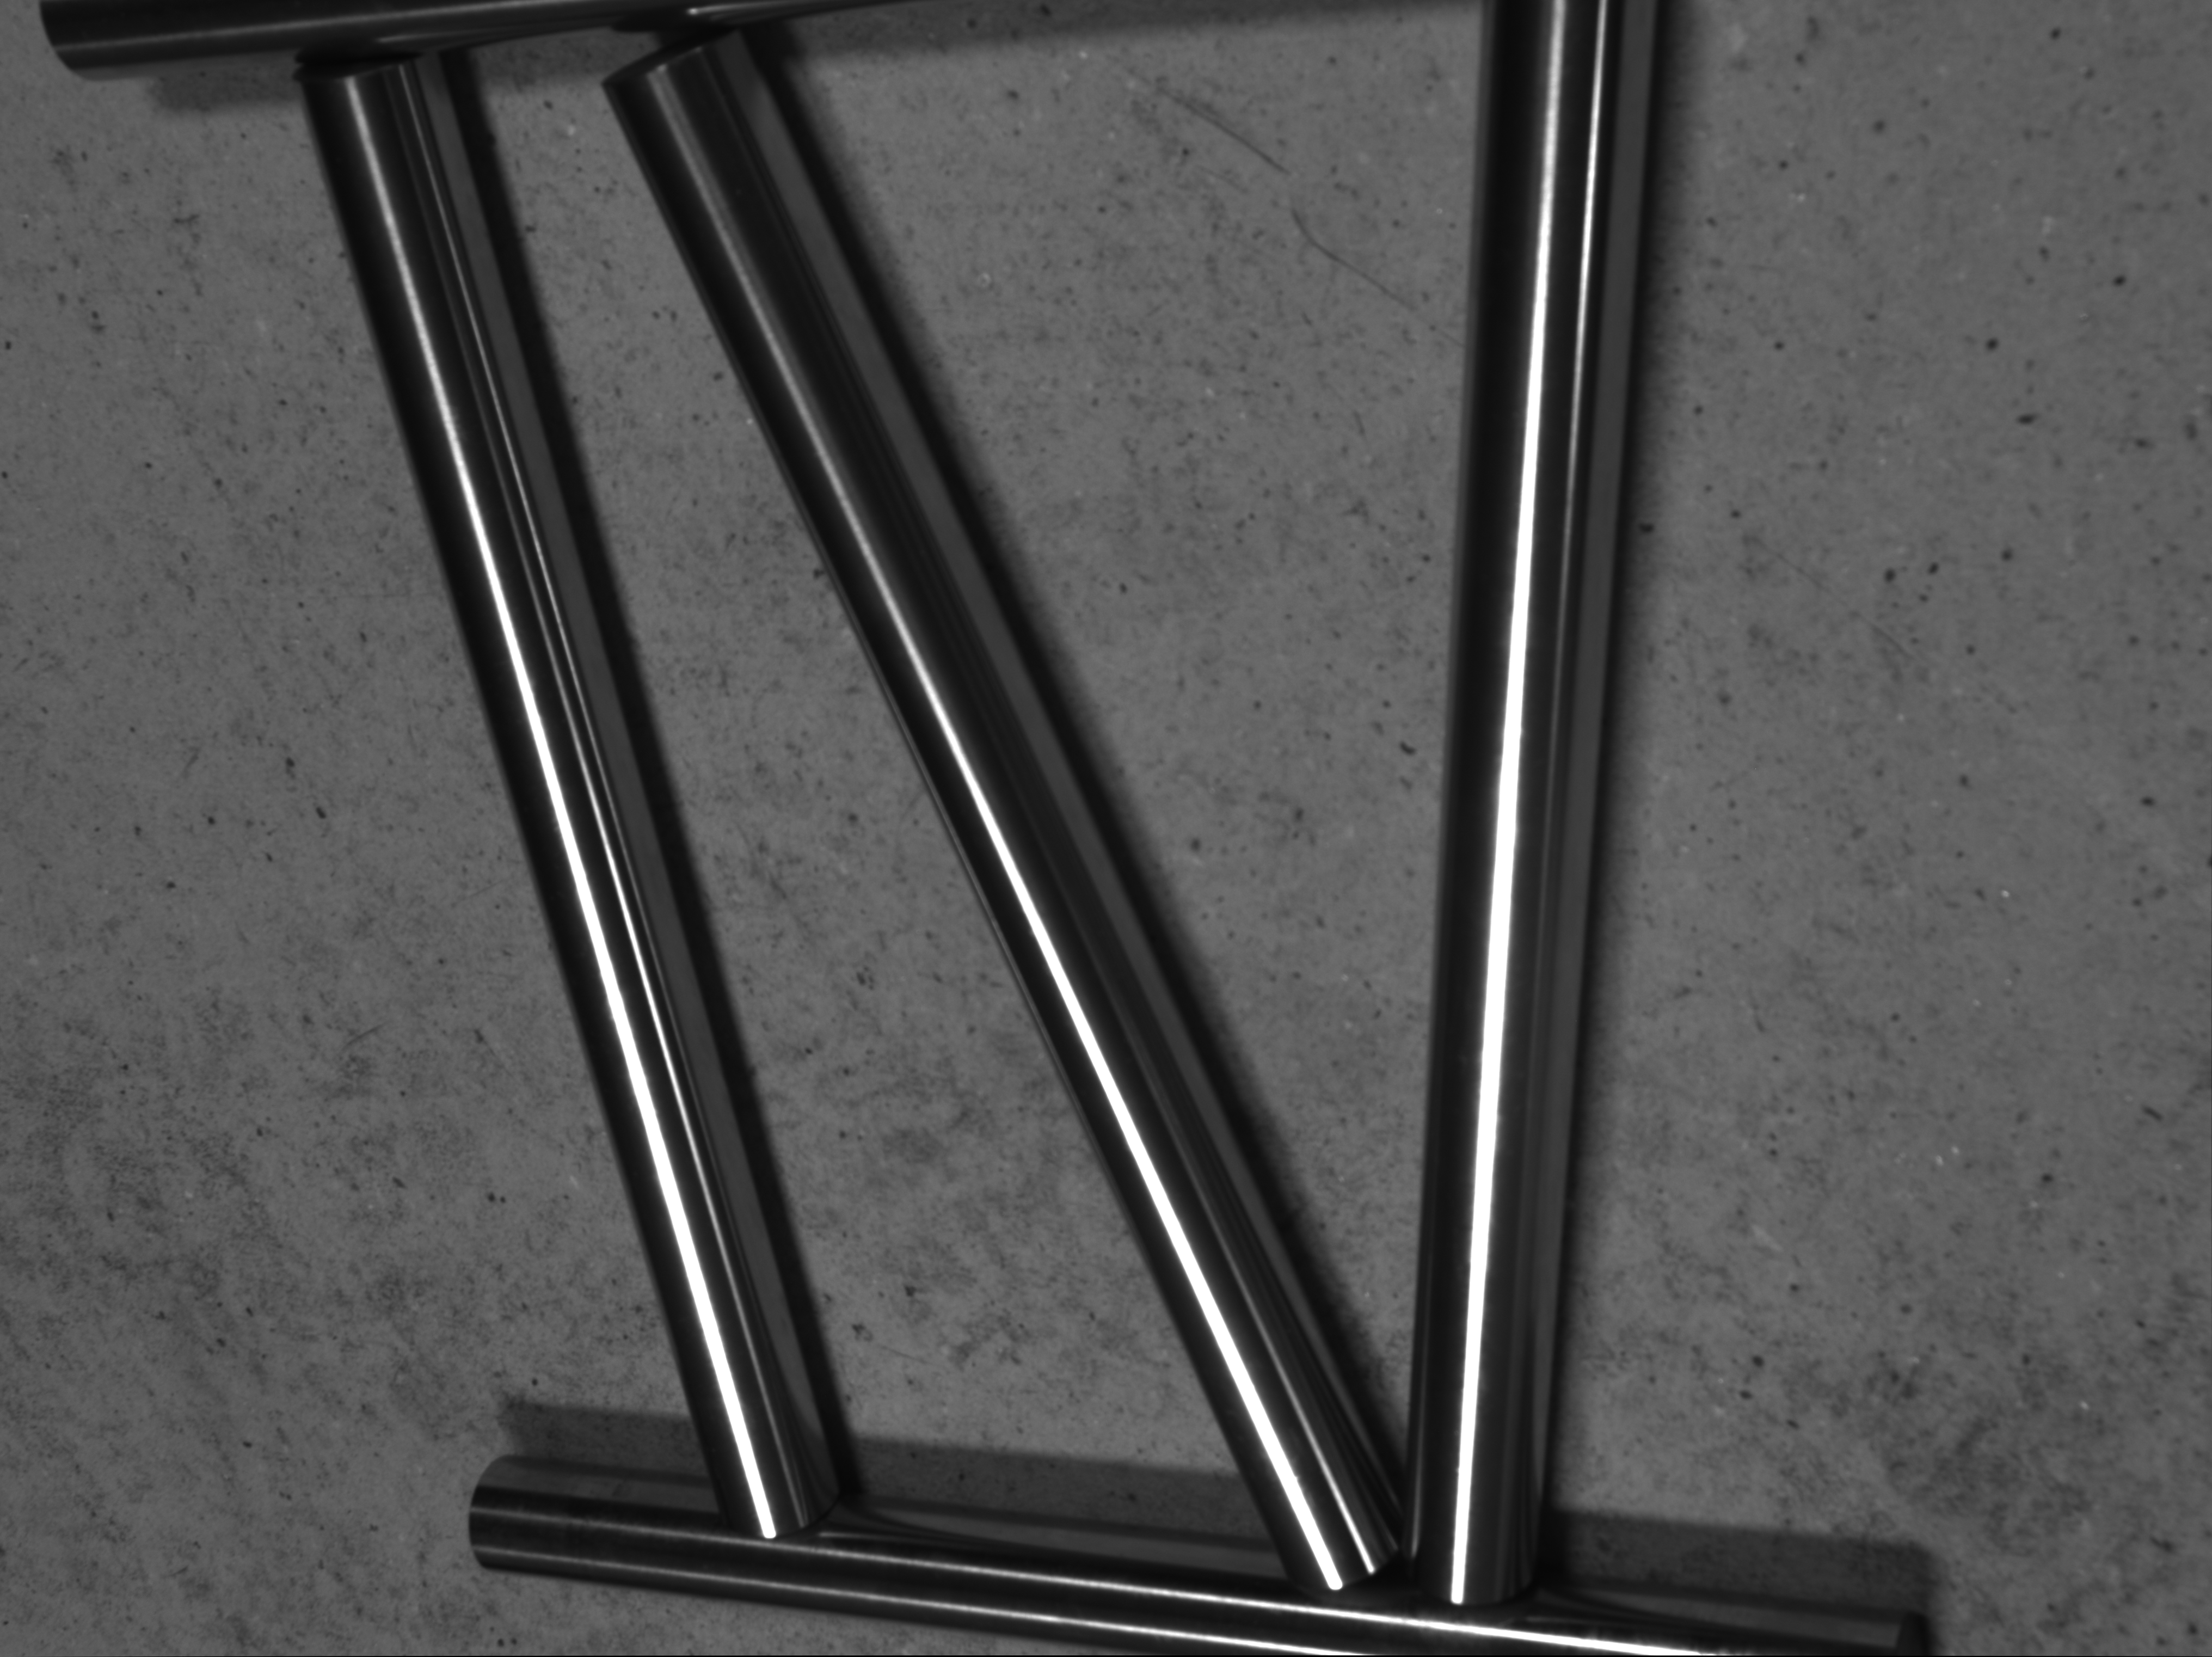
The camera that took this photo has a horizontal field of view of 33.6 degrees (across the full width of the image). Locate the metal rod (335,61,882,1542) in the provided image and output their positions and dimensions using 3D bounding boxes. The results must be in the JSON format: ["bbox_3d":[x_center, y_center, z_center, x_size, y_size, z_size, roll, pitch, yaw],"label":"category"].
[{"bbox_3d":[-0.087,0.004,0.676,0.025,0.025,0.300,1,119,26],"label":"metal rod"}]

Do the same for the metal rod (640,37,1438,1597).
[{"bbox_3d":[-0.006,0.006,0.637,0.025,0.025,0.300,-12,112,32],"label":"metal rod"}]

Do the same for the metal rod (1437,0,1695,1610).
[{"bbox_3d":[0.073,0.006,0.598,0.025,0.025,0.300,12,123,20],"label":"metal rod"}]

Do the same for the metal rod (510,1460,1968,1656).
[{"bbox_3d":[0.015,0.149,0.712,0.299,0.025,0.025,1,119,26],"label":"metal rod"}]

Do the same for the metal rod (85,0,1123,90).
[{"bbox_3d":[-0.033,-0.137,0.565,0.299,0.025,0.025,1,119,26],"label":"metal rod"}]
